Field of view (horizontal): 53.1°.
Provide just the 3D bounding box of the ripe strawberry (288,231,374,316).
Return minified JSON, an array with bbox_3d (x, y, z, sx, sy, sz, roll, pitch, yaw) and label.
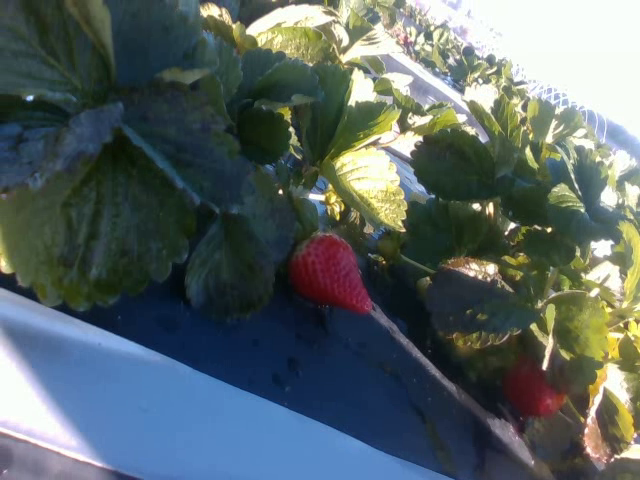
[{"bbox_3d":[0.008,0.020,0.325,0.045,0.059,0.042,-30,-17,-25],"label":"ripe strawberry"}]
